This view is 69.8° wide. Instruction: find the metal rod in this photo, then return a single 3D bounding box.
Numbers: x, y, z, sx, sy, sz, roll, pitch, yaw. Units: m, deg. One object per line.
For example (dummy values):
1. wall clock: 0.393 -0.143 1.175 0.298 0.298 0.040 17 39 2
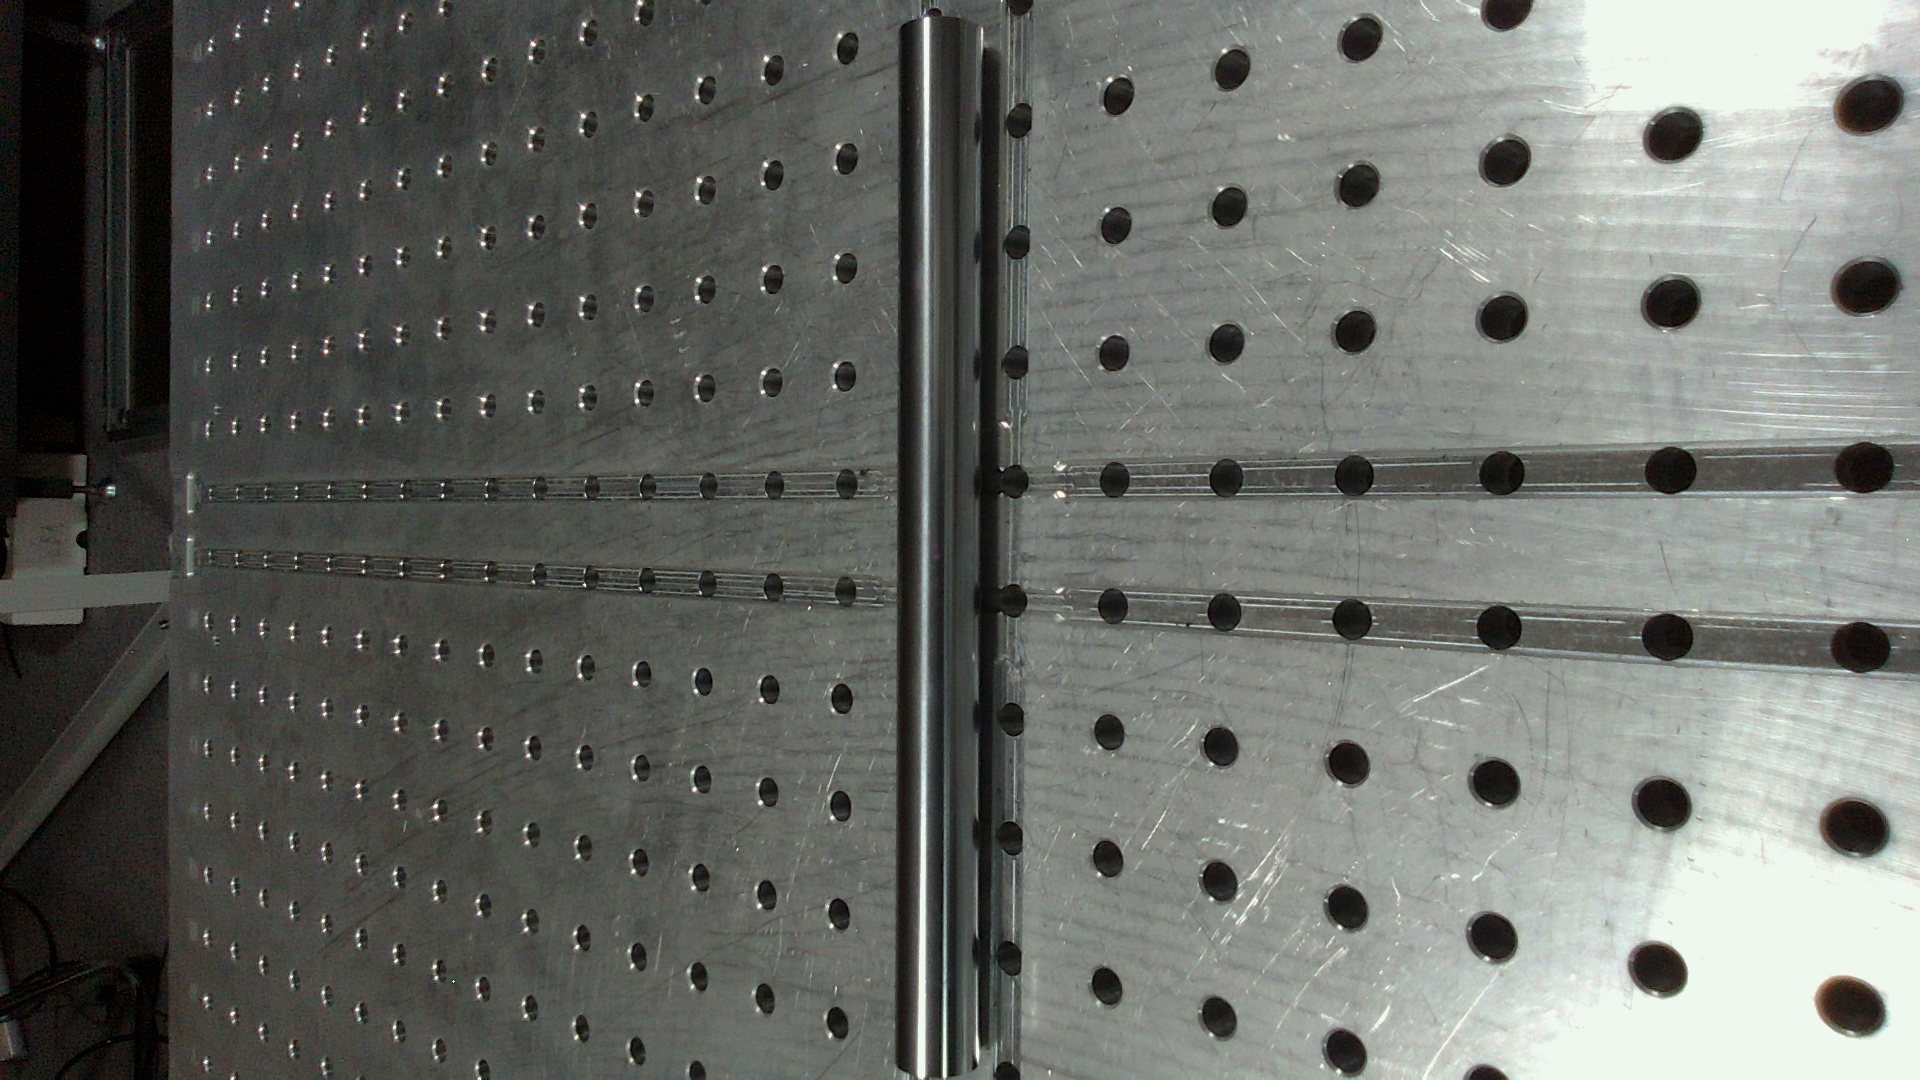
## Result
1. metal rod: -0.006 0.002 0.403 0.025 0.025 0.300 0 90 40
